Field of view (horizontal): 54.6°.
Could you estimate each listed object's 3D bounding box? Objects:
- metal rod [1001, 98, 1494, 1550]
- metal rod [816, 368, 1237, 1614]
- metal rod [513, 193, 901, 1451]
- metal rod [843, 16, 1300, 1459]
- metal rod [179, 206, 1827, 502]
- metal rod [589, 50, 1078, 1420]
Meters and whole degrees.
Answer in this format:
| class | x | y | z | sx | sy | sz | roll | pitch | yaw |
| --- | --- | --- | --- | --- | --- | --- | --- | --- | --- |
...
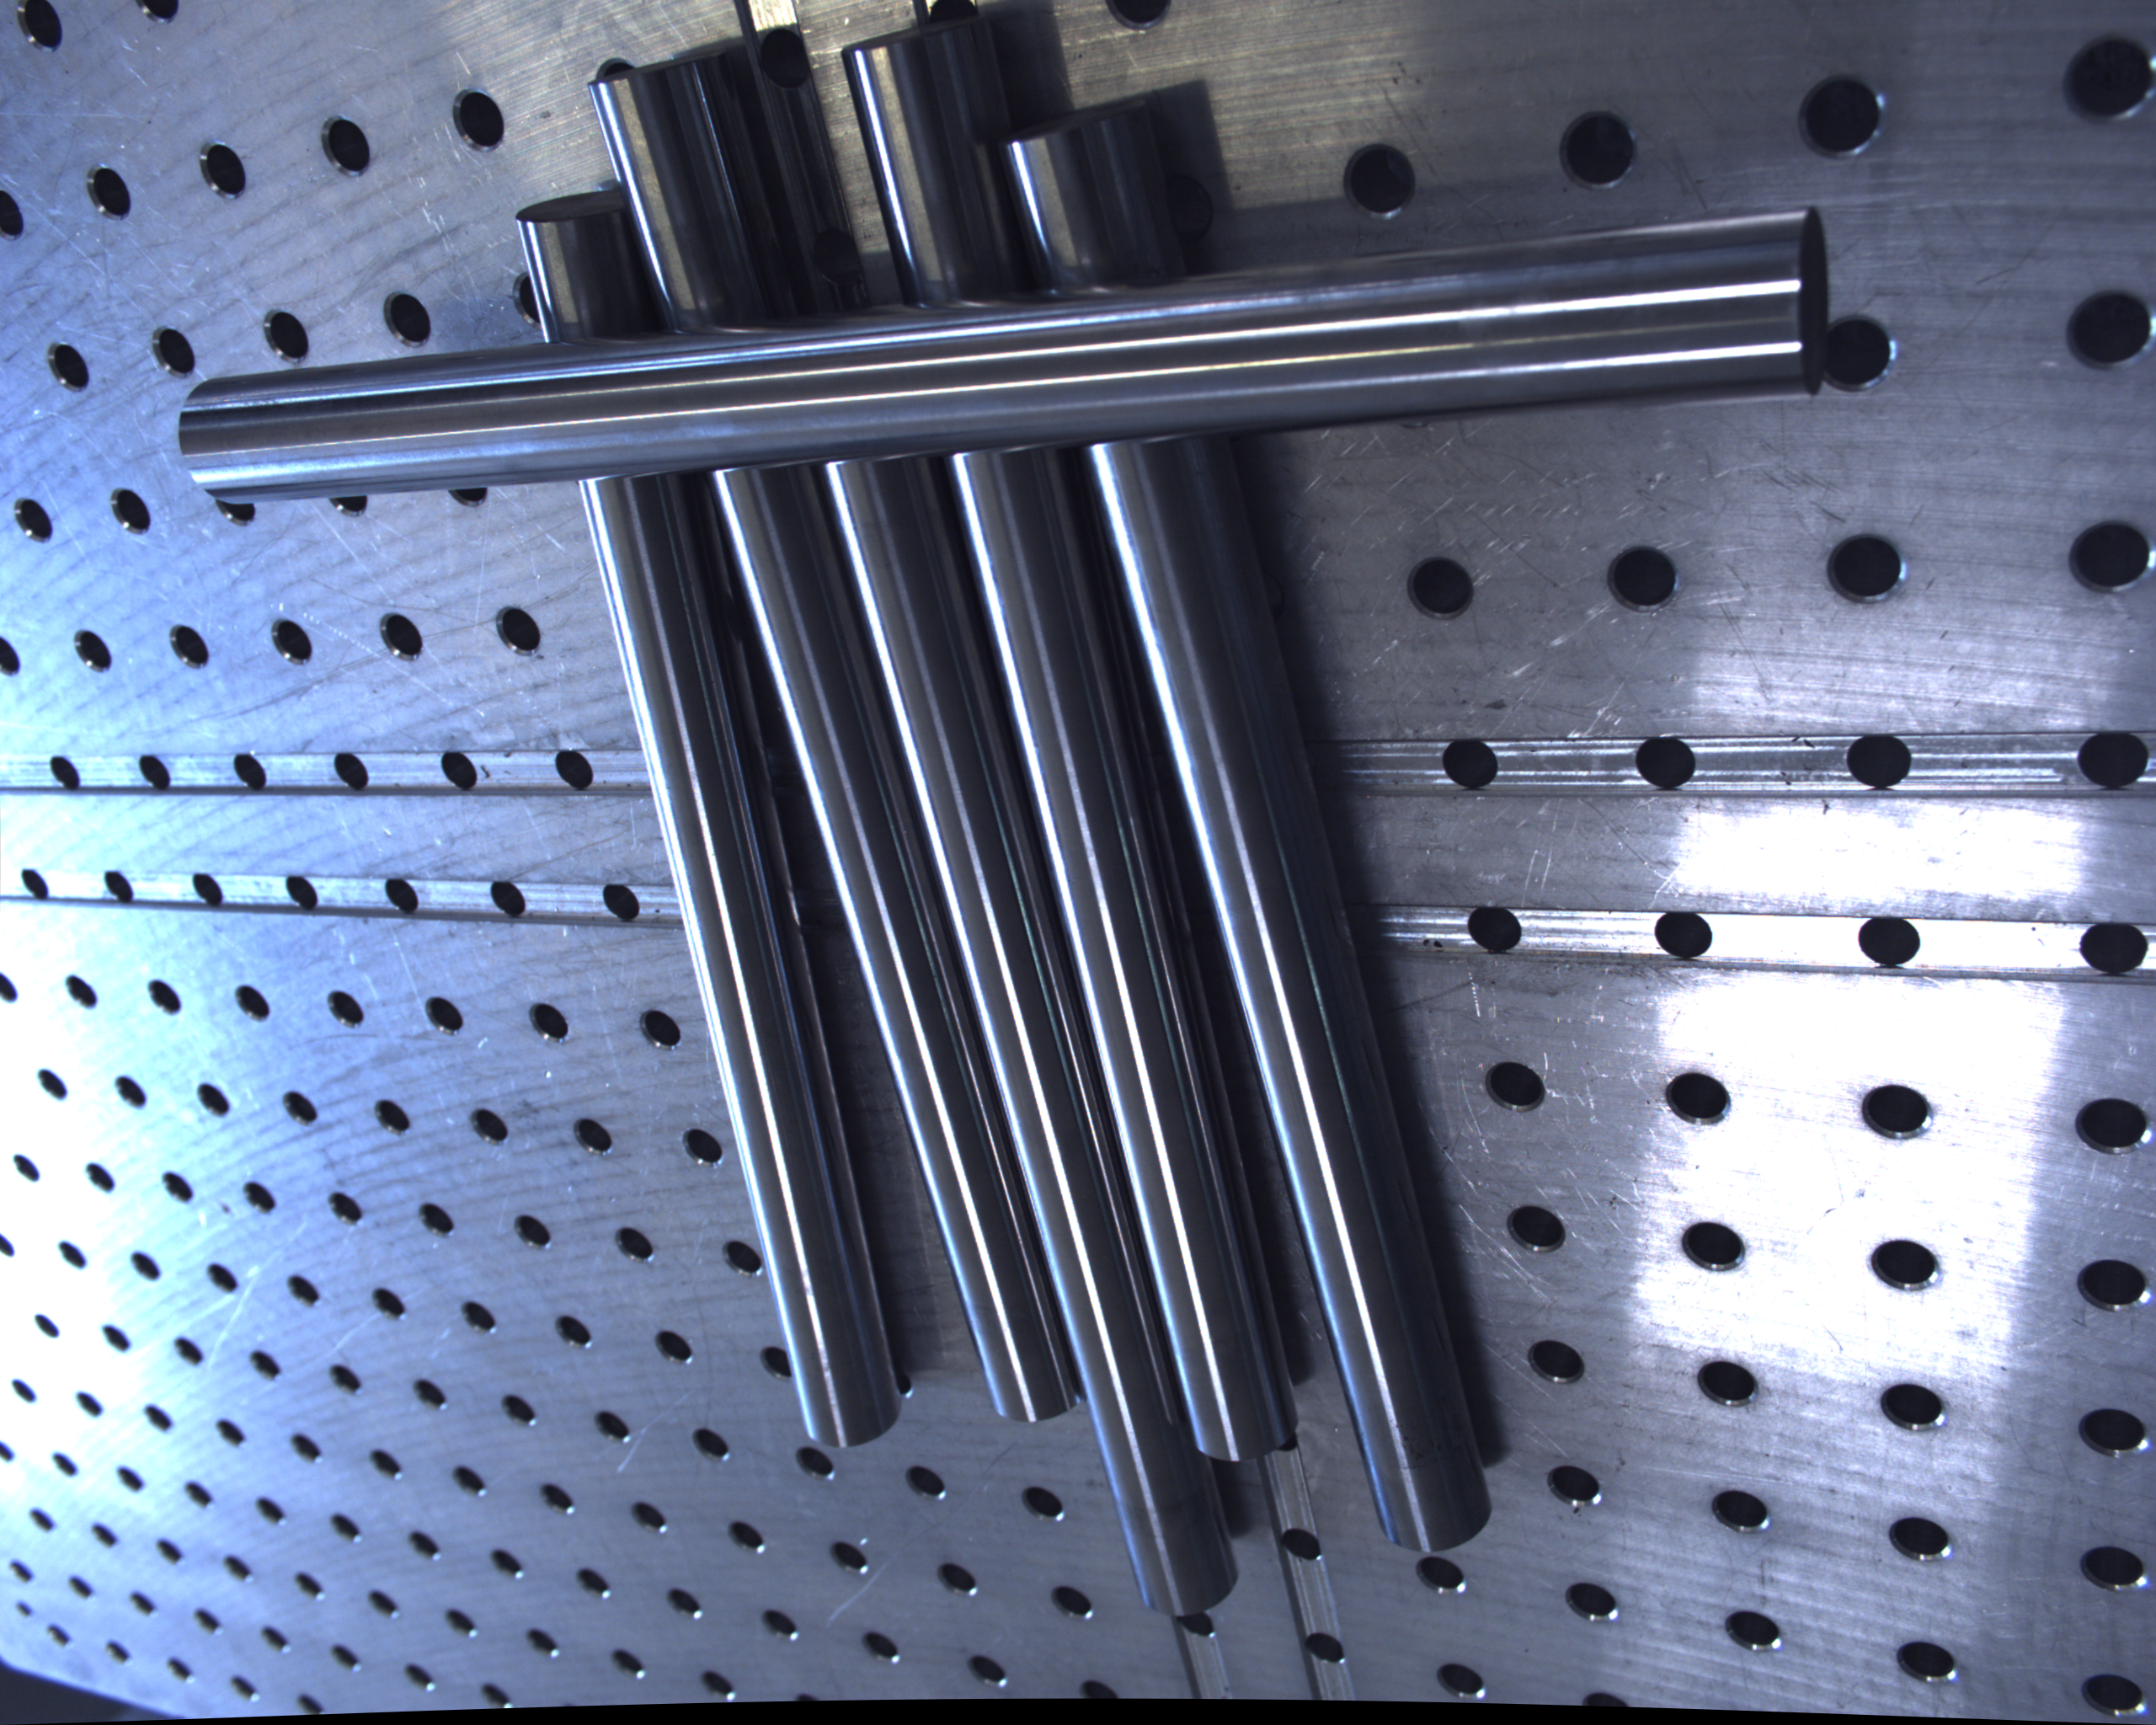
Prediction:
| class | x | y | z | sx | sy | sz | roll | pitch | yaw |
| --- | --- | --- | --- | --- | --- | --- | --- | --- | --- |
| metal rod | 0.039 | 0.011 | 0.398 | 0.025 | 0.025 | 0.299 | -3 | 117 | 29 |
| metal rod | -0.006 | 0.041 | 0.440 | 0.025 | 0.025 | 0.298 | 1 | 119 | 28 |
| metal rod | -0.074 | 0.009 | 0.455 | 0.025 | 0.025 | 0.298 | 7 | 122 | 25 |
| metal rod | 0.006 | -0.005 | 0.407 | 0.025 | 0.025 | 0.298 | 1 | 119 | 28 |
| metal rod | -0.035 | -0.080 | 0.348 | 0.300 | 0.025 | 0.025 | 2 | 119 | 27 |
| metal rod | -0.041 | -0.008 | 0.429 | 0.025 | 0.025 | 0.298 | 1 | 119 | 28 |
